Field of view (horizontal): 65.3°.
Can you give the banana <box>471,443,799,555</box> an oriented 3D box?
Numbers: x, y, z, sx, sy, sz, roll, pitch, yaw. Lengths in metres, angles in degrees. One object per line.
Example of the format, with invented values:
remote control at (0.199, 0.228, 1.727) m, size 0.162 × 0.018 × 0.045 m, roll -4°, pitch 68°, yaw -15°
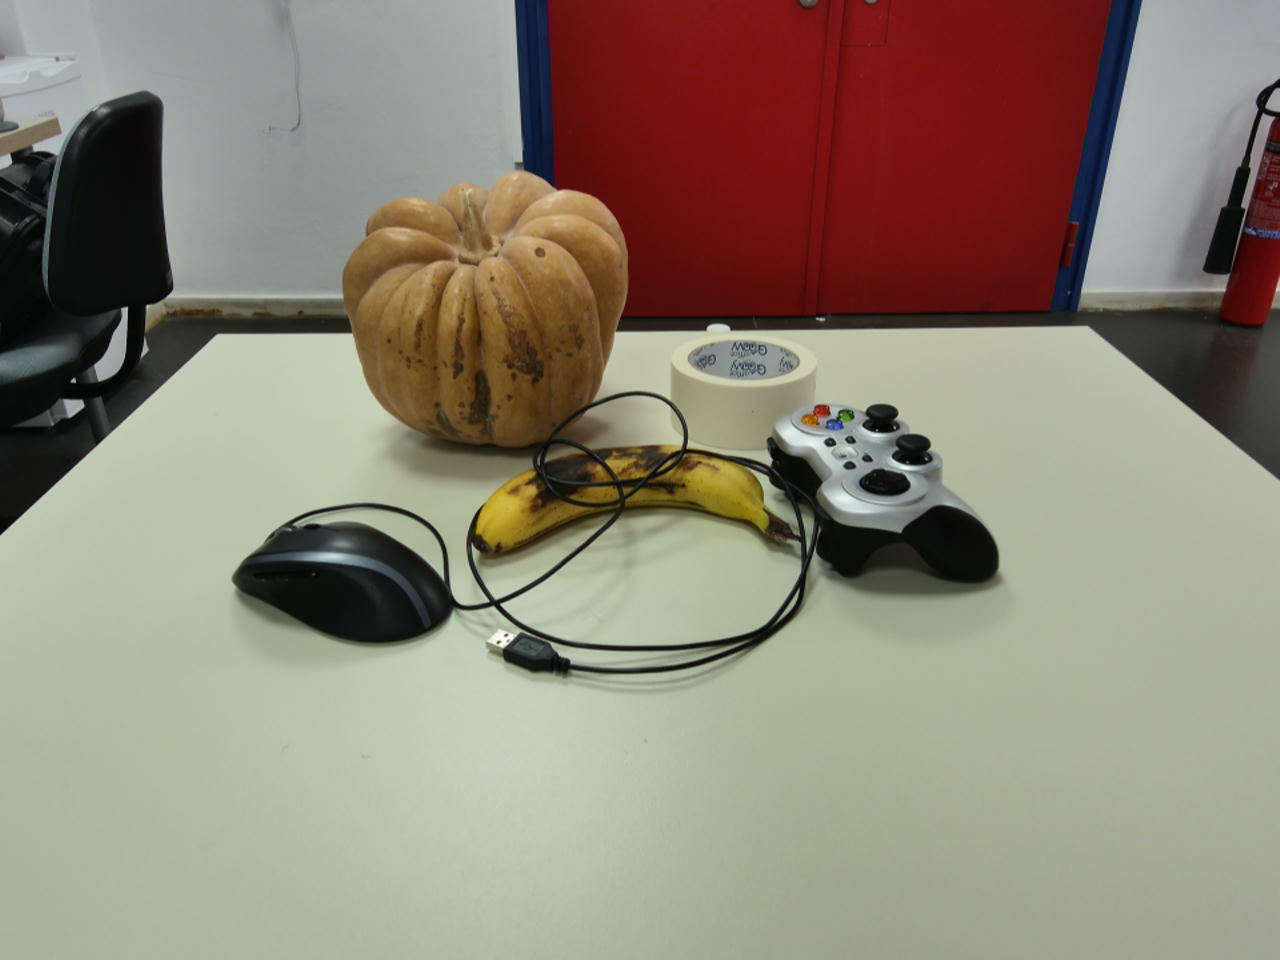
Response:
banana at (-0.005, 0.010, 0.607) m, size 0.187 × 0.039 × 0.094 m, roll -1°, pitch 26°, yaw -2°
